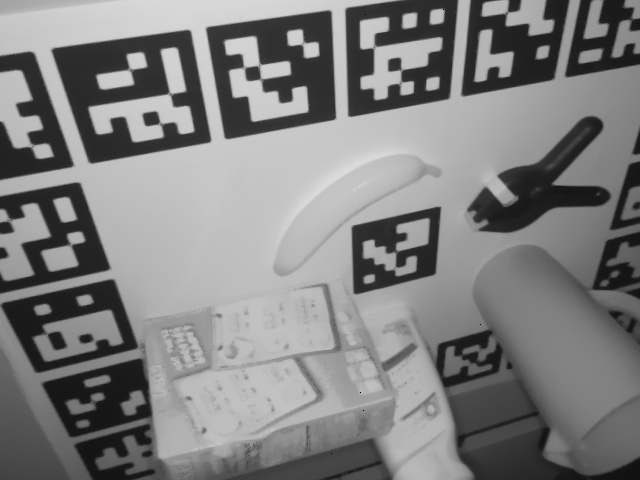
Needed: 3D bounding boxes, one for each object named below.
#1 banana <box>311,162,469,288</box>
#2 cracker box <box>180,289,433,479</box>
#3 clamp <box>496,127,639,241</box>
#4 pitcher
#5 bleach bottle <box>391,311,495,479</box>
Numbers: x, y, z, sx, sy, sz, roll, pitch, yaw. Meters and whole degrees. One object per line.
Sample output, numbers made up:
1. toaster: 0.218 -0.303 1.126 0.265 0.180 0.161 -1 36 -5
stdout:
1. banana: 0.058 -0.021 0.709 0.196 0.039 0.074 -39 129 10
2. cracker box: -0.018 0.147 0.695 0.215 0.164 0.071 -12 131 -14
3. clamp: 0.274 -0.045 0.764 0.165 0.036 0.121 -25 131 0
4. pitcher: 0.326 0.129 0.751 0.189 0.243 0.133 -25 131 3
5. bleach bottle: 0.143 0.189 0.751 0.103 0.251 0.067 -12 129 -11
